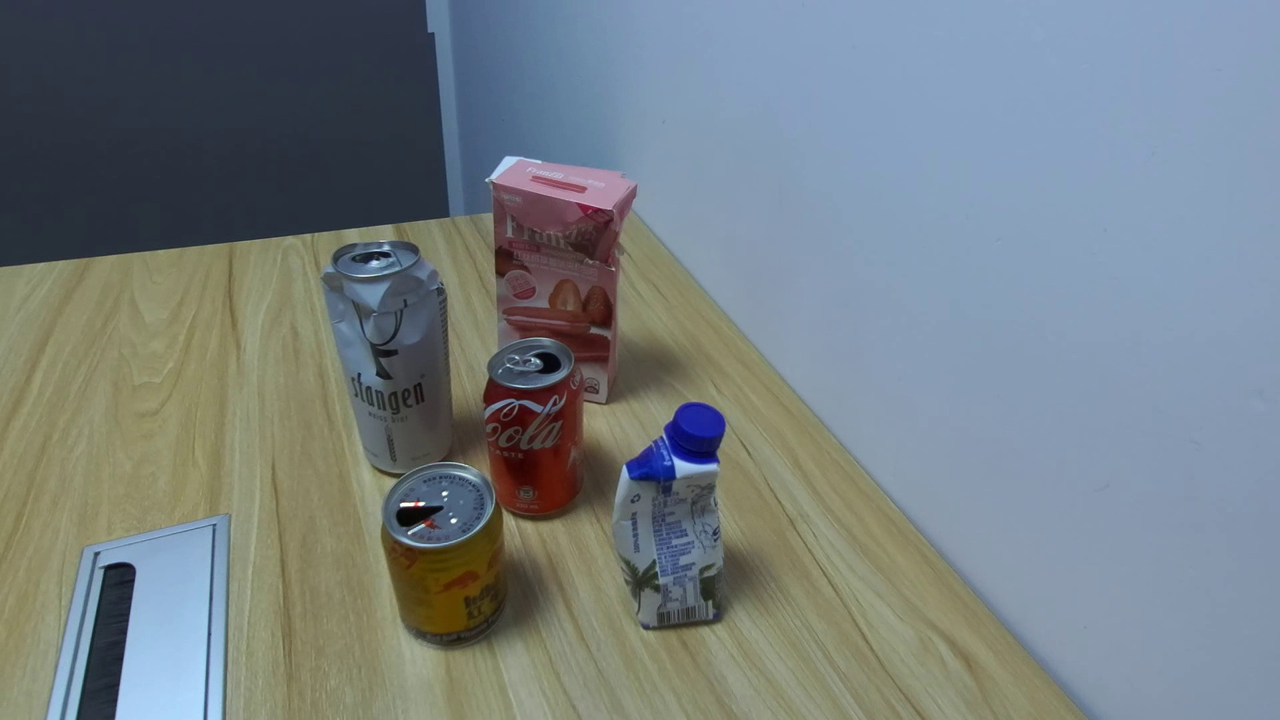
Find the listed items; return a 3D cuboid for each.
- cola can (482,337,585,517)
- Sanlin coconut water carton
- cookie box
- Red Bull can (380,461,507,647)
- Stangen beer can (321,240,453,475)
[{"bbox_3d":[-0.070,0.047,0.482,0.065,0.117,0.072,22,41,17],"label":"cola can"},{"bbox_3d":[0.016,0.089,0.414,0.068,0.145,0.056,-10,32,-7],"label":"Sanlin coconut water carton"},{"bbox_3d":[-0.063,-0.057,0.557,0.105,0.186,0.059,13,39,8],"label":"cookie box"},{"bbox_3d":[-0.111,0.113,0.409,0.067,0.093,0.067,3,37,-2],"label":"Red Bull can"},{"bbox_3d":[-0.169,0.001,0.491,0.065,0.166,0.066,28,42,28],"label":"Stangen beer can"}]
